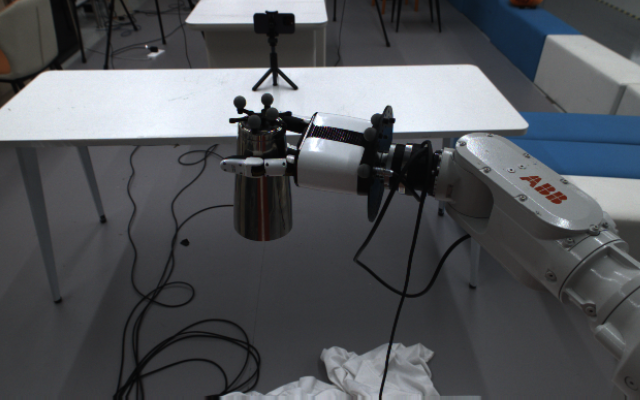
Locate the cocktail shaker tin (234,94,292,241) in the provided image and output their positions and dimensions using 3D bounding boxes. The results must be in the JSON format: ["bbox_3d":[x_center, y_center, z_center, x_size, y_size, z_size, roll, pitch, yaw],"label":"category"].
[{"bbox_3d":[-0.083,-0.037,0.712,0.093,0.170,0.093,2,33,-2],"label":"cocktail shaker tin"}]
